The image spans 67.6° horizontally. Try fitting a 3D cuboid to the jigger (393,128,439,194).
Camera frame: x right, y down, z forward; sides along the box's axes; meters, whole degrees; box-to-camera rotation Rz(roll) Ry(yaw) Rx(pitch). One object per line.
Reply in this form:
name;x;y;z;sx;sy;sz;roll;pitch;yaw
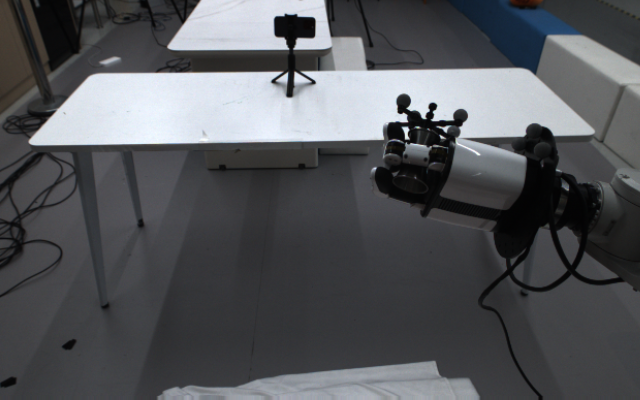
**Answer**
jigger;0.119;-0.047;0.583;0.043;0.043;0.071;13;72;15
